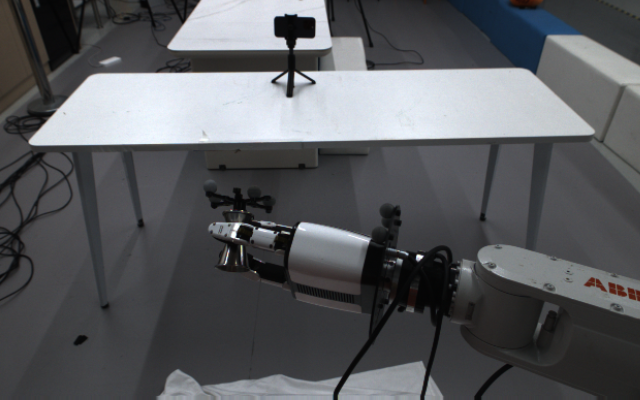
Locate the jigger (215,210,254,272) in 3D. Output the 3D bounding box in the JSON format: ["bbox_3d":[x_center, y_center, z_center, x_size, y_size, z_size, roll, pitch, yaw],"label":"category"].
[{"bbox_3d":[-0.103,0.049,0.586,0.043,0.043,0.071,3,72,1],"label":"jigger"}]
